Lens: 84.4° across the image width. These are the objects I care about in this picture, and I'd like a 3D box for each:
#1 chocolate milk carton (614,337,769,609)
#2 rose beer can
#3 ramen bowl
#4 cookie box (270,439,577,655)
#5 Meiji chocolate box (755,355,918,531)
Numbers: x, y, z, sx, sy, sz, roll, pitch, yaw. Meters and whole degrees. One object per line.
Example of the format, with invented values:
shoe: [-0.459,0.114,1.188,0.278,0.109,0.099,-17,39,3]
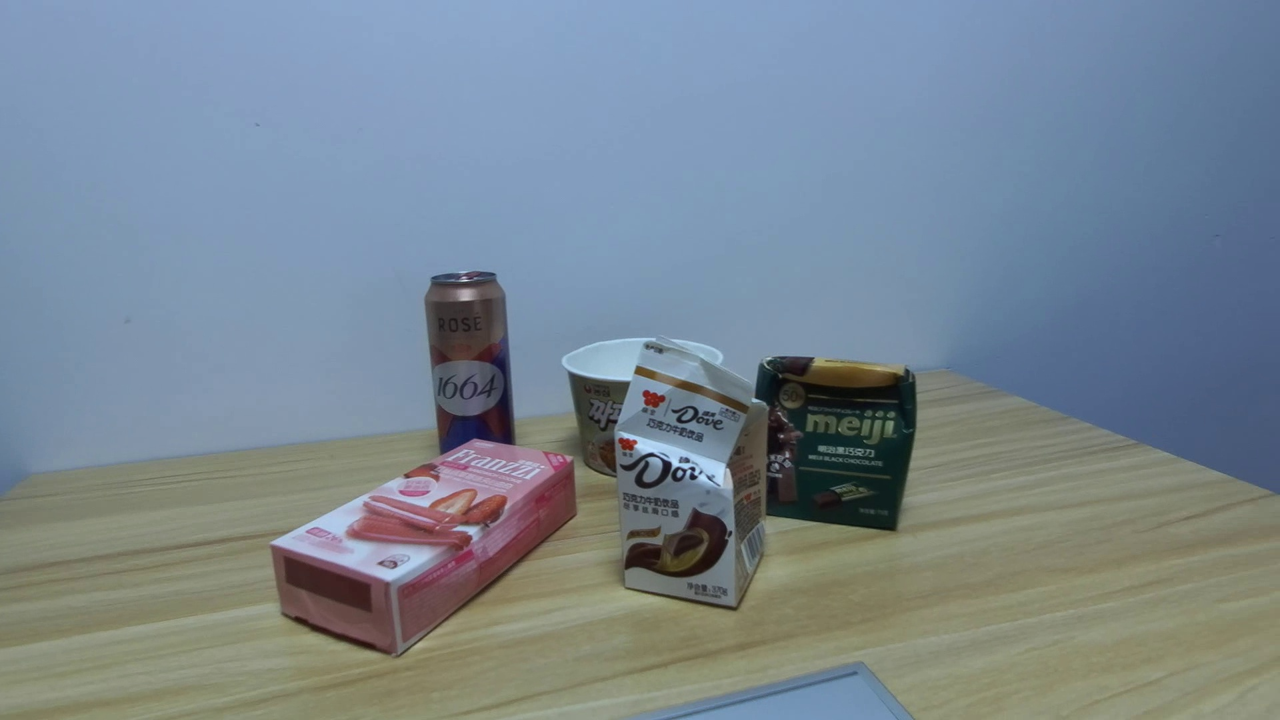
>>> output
chocolate milk carton: [0.034,0.061,0.430,0.076,0.155,0.074,5,19,21]
rose beer can: [-0.147,0.013,0.612,0.068,0.169,0.068,0,16,0]
ramen bowl: [0.000,0.048,0.686,0.140,0.095,0.140,-1,15,1]
cookie box: [-0.128,0.112,0.468,0.105,0.049,0.188,6,16,27]
Meiji chocolate box: [0.141,0.057,0.522,0.117,0.117,0.052,4,9,18]
